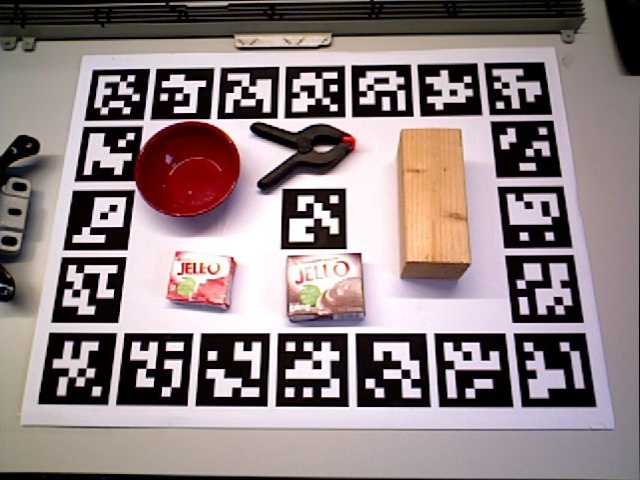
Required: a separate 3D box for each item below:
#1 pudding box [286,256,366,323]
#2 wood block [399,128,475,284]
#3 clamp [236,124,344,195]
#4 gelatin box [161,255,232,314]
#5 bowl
[{"bbox_3d":[0.008,0.072,0.773,0.113,0.039,0.089,-2,76,4],"label":"pudding box"},{"bbox_3d":[0.165,-0.049,0.777,0.089,0.092,0.205,2,73,1],"label":"wood block"},{"bbox_3d":[-0.043,-0.138,0.850,0.164,0.037,0.121,-11,72,-3],"label":"clamp"},{"bbox_3d":[-0.178,0.063,0.786,0.089,0.030,0.073,7,74,4],"label":"gelatin box"},{"bbox_3d":[-0.203,-0.100,0.833,0.161,0.056,0.161,0,75,1],"label":"bowl"}]
